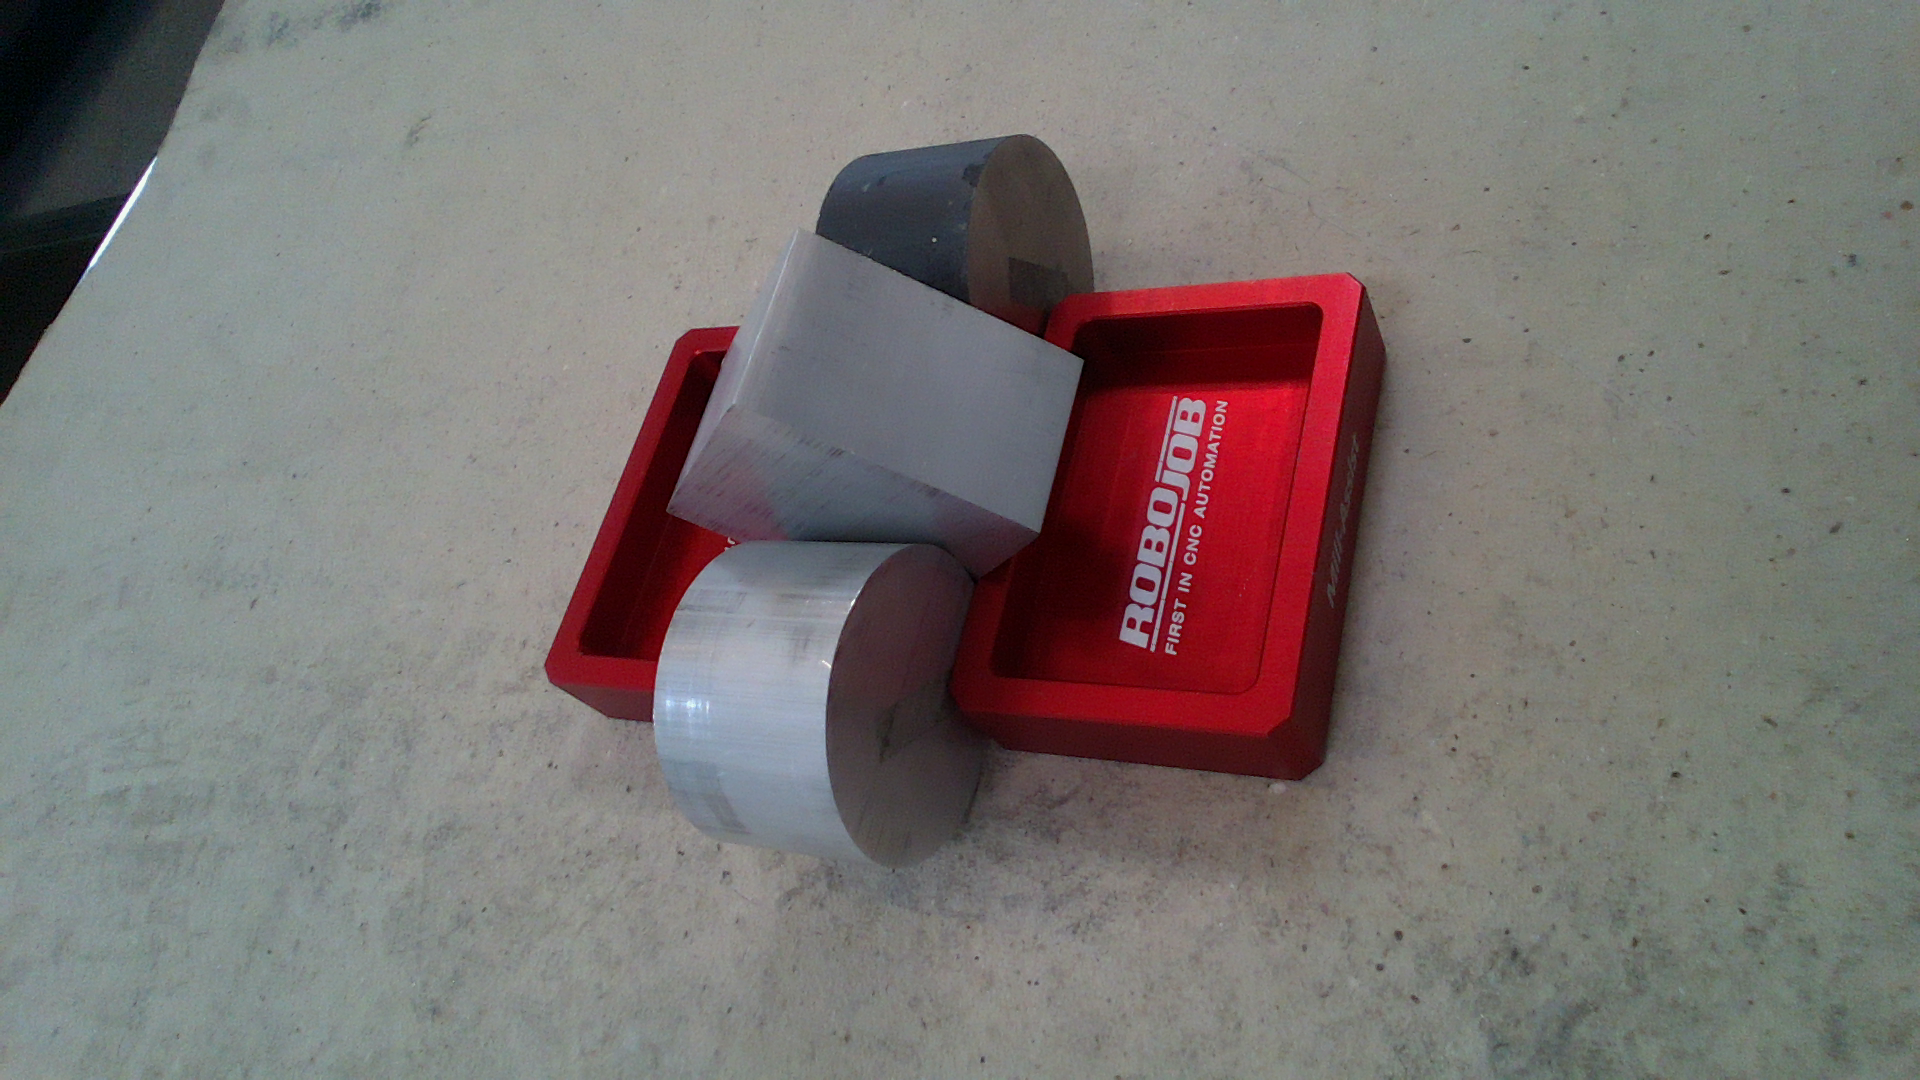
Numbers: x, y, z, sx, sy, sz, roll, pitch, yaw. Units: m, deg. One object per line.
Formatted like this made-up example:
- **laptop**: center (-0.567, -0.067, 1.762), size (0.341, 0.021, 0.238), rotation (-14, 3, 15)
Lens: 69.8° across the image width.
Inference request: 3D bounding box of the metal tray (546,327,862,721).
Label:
- **metal tray**: center (-0.065, -0.007, 0.431), size (0.090, 0.030, 0.130), rotation (2, 62, 29)

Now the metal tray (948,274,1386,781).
- **metal tray**: center (0.057, -0.007, 0.365), size (0.090, 0.030, 0.130), rotation (2, 62, 29)

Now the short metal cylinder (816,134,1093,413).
- **short metal cylinder**: center (0.000, -0.075, 0.405), size (0.050, 0.080, 0.080), rotation (2, 63, 29)

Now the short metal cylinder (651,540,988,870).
- **short metal cylinder**: center (-0.032, 0.040, 0.351), size (0.050, 0.080, 0.080), rotation (2, 63, 29)

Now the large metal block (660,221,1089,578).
- **large metal block**: center (-0.025, -0.027, 0.362), size (0.080, 0.080, 0.050), rotation (-36, 35, 61)
